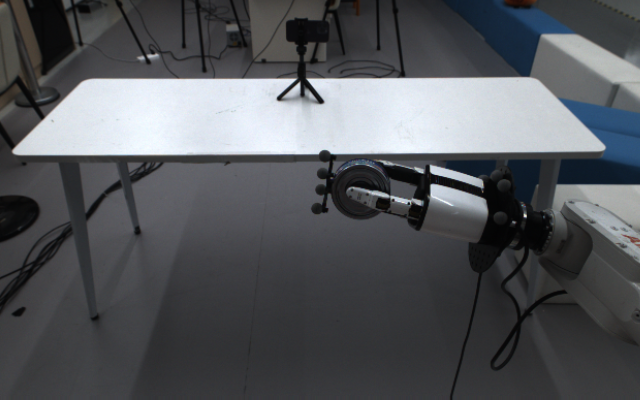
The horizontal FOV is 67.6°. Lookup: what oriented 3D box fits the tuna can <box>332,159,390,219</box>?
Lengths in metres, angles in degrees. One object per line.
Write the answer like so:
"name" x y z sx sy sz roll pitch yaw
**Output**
"tuna can" 0.061 -0.012 0.693 0.085 0.085 0.034 5 18 4
